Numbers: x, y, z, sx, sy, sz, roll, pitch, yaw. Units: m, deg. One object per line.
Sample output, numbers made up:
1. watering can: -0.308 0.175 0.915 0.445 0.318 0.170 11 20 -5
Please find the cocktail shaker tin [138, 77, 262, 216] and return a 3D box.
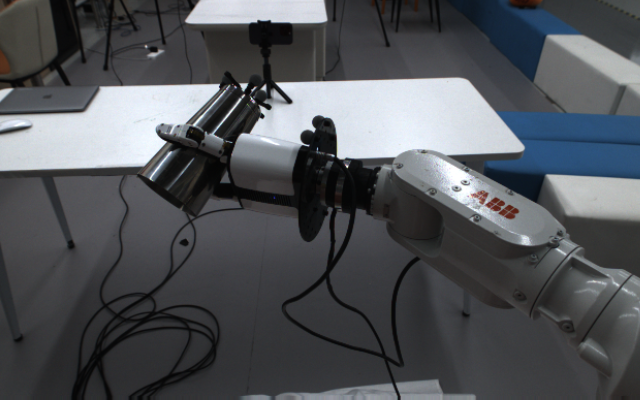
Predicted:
1. cocktail shaker tin: -0.155 -0.077 0.653 0.093 0.093 0.170 24 69 28
